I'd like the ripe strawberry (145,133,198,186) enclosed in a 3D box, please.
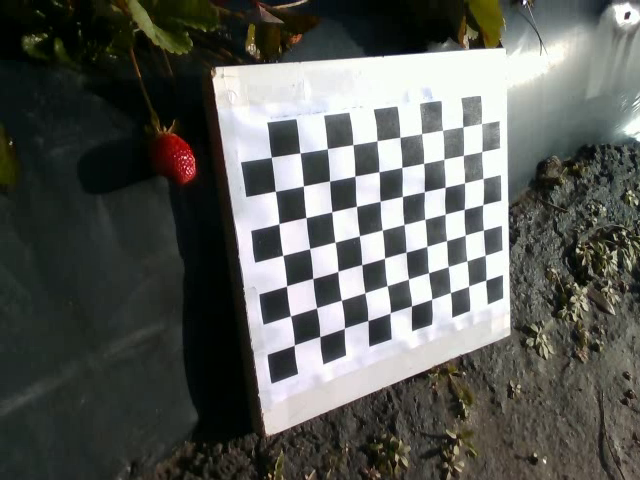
[{"bbox_3d":[-0.081,-0.044,0.371,0.034,0.038,0.033,-15,-35,-32],"label":"ripe strawberry"}]
